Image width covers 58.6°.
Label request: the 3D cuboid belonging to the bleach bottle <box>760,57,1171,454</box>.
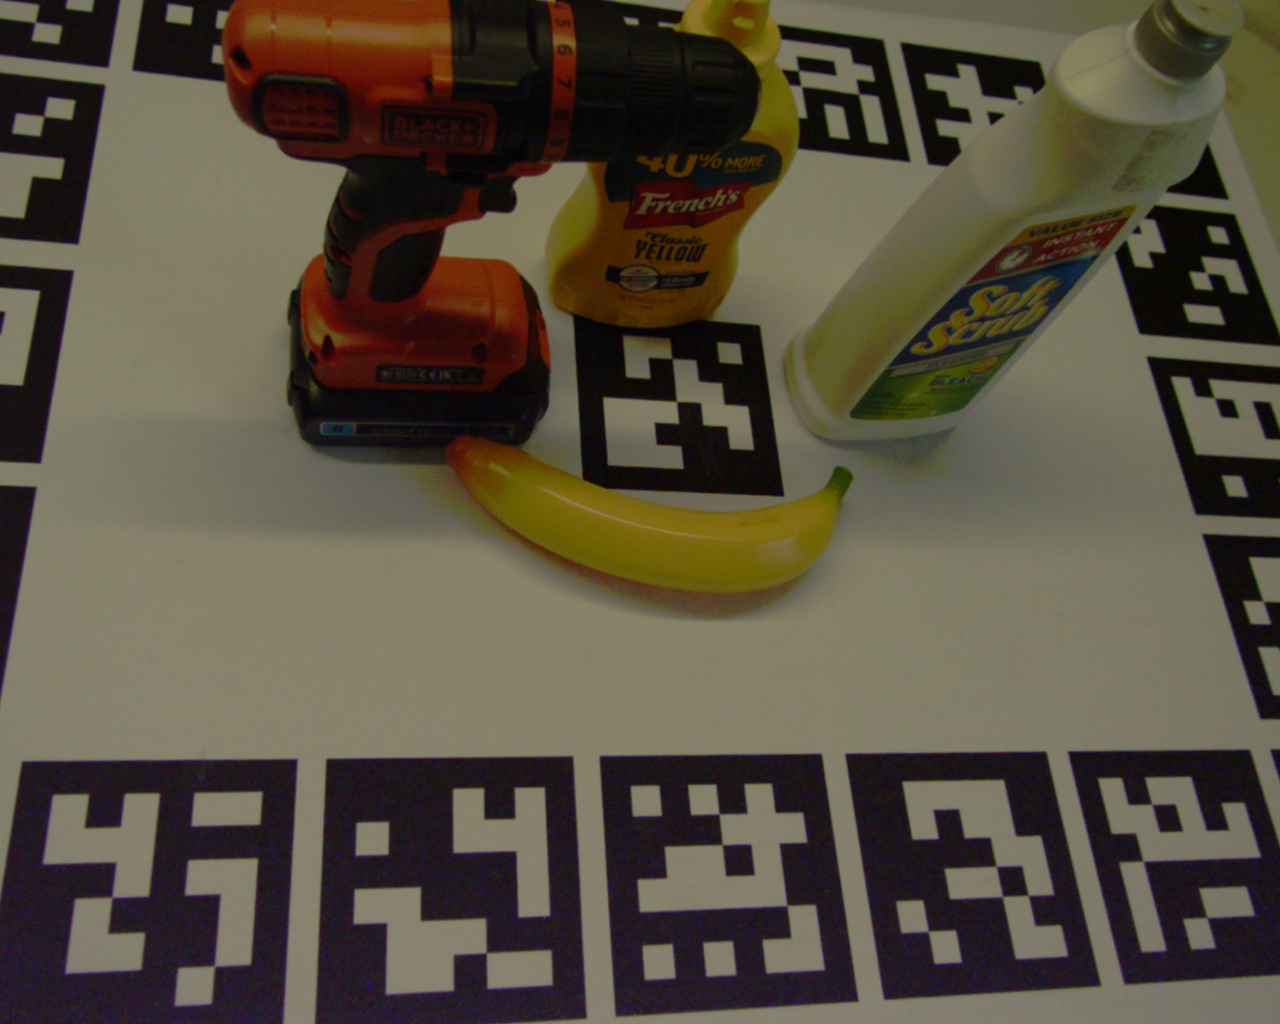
[{"bbox_3d":[0.148,-0.111,0.538,0.102,0.252,0.068,-6,69,-18],"label":"bleach bottle"}]

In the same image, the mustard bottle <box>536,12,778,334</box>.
[{"bbox_3d":[0.013,-0.160,0.550,0.095,0.192,0.058,3,65,-16],"label":"mustard bottle"}]

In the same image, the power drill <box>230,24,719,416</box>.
[{"bbox_3d":[-0.076,-0.115,0.484,0.183,0.187,0.058,0,59,-18],"label":"power drill"}]

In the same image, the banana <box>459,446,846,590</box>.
[{"bbox_3d":[0.009,0.001,0.557,0.196,0.039,0.074,4,69,-11],"label":"banana"}]
